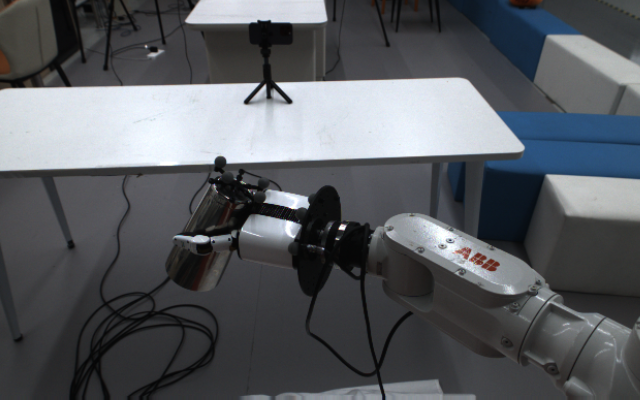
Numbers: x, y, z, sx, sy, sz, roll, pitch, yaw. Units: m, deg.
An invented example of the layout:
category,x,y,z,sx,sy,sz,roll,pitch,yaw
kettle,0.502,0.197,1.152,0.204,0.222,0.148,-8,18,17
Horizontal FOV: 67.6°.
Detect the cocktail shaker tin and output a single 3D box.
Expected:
category,x,y,z,sx,sy,sz,roll,pitch,yaw
cocktail shaker tin,-0.164,0.048,0.739,0.093,0.170,0.093,25,30,-15
